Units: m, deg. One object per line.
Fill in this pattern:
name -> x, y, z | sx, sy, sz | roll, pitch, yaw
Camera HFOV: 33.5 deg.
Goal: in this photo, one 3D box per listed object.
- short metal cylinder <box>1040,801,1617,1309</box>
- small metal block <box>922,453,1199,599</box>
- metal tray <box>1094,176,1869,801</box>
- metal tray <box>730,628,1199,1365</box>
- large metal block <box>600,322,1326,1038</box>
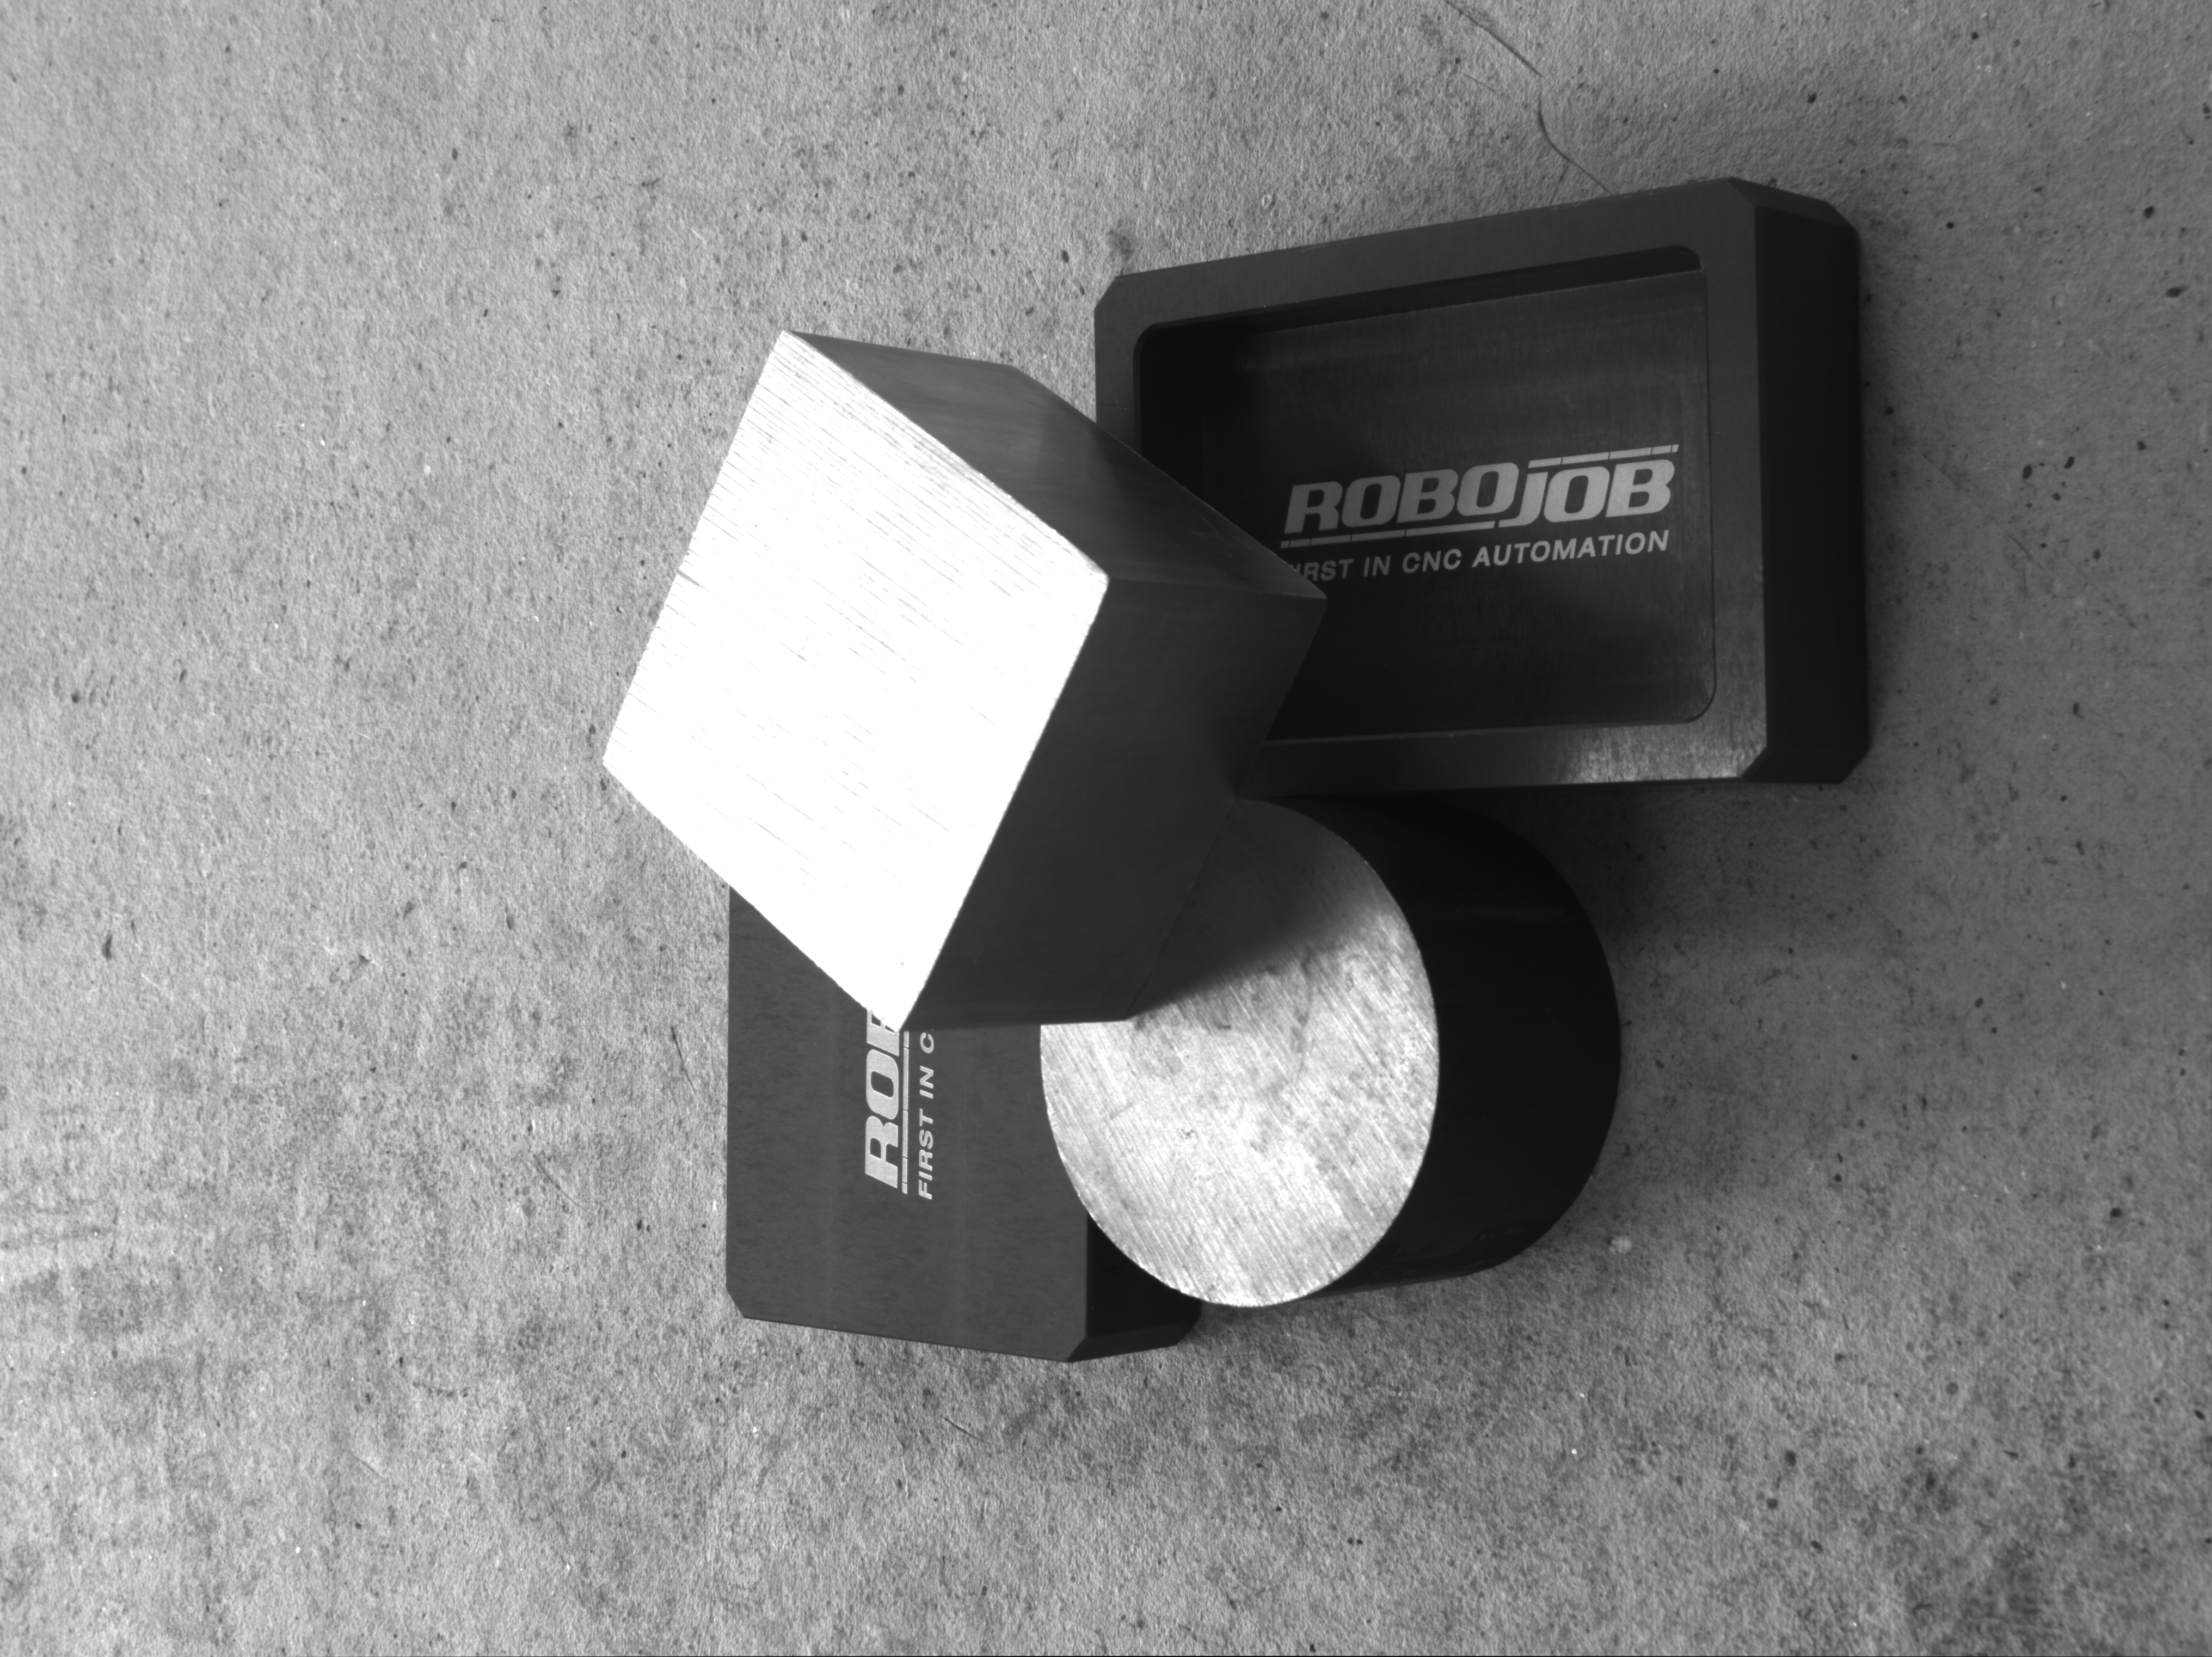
short metal cylinder -> 0.036, 0.036, 0.599 | 0.080, 0.050, 0.080 | 0, 90, 41
small metal block -> -0.019, -0.051, 0.646 | 0.050, 0.050, 0.025 | 1, 91, 40
metal tray -> 0.057, -0.050, 0.594 | 0.130, 0.030, 0.090 | -2, 88, 40
metal tray -> -0.026, 0.027, 0.666 | 0.090, 0.030, 0.130 | 1, 91, 40
large metal block -> -0.024, -0.024, 0.583 | 0.080, 0.050, 0.080 | 40, 115, 33
